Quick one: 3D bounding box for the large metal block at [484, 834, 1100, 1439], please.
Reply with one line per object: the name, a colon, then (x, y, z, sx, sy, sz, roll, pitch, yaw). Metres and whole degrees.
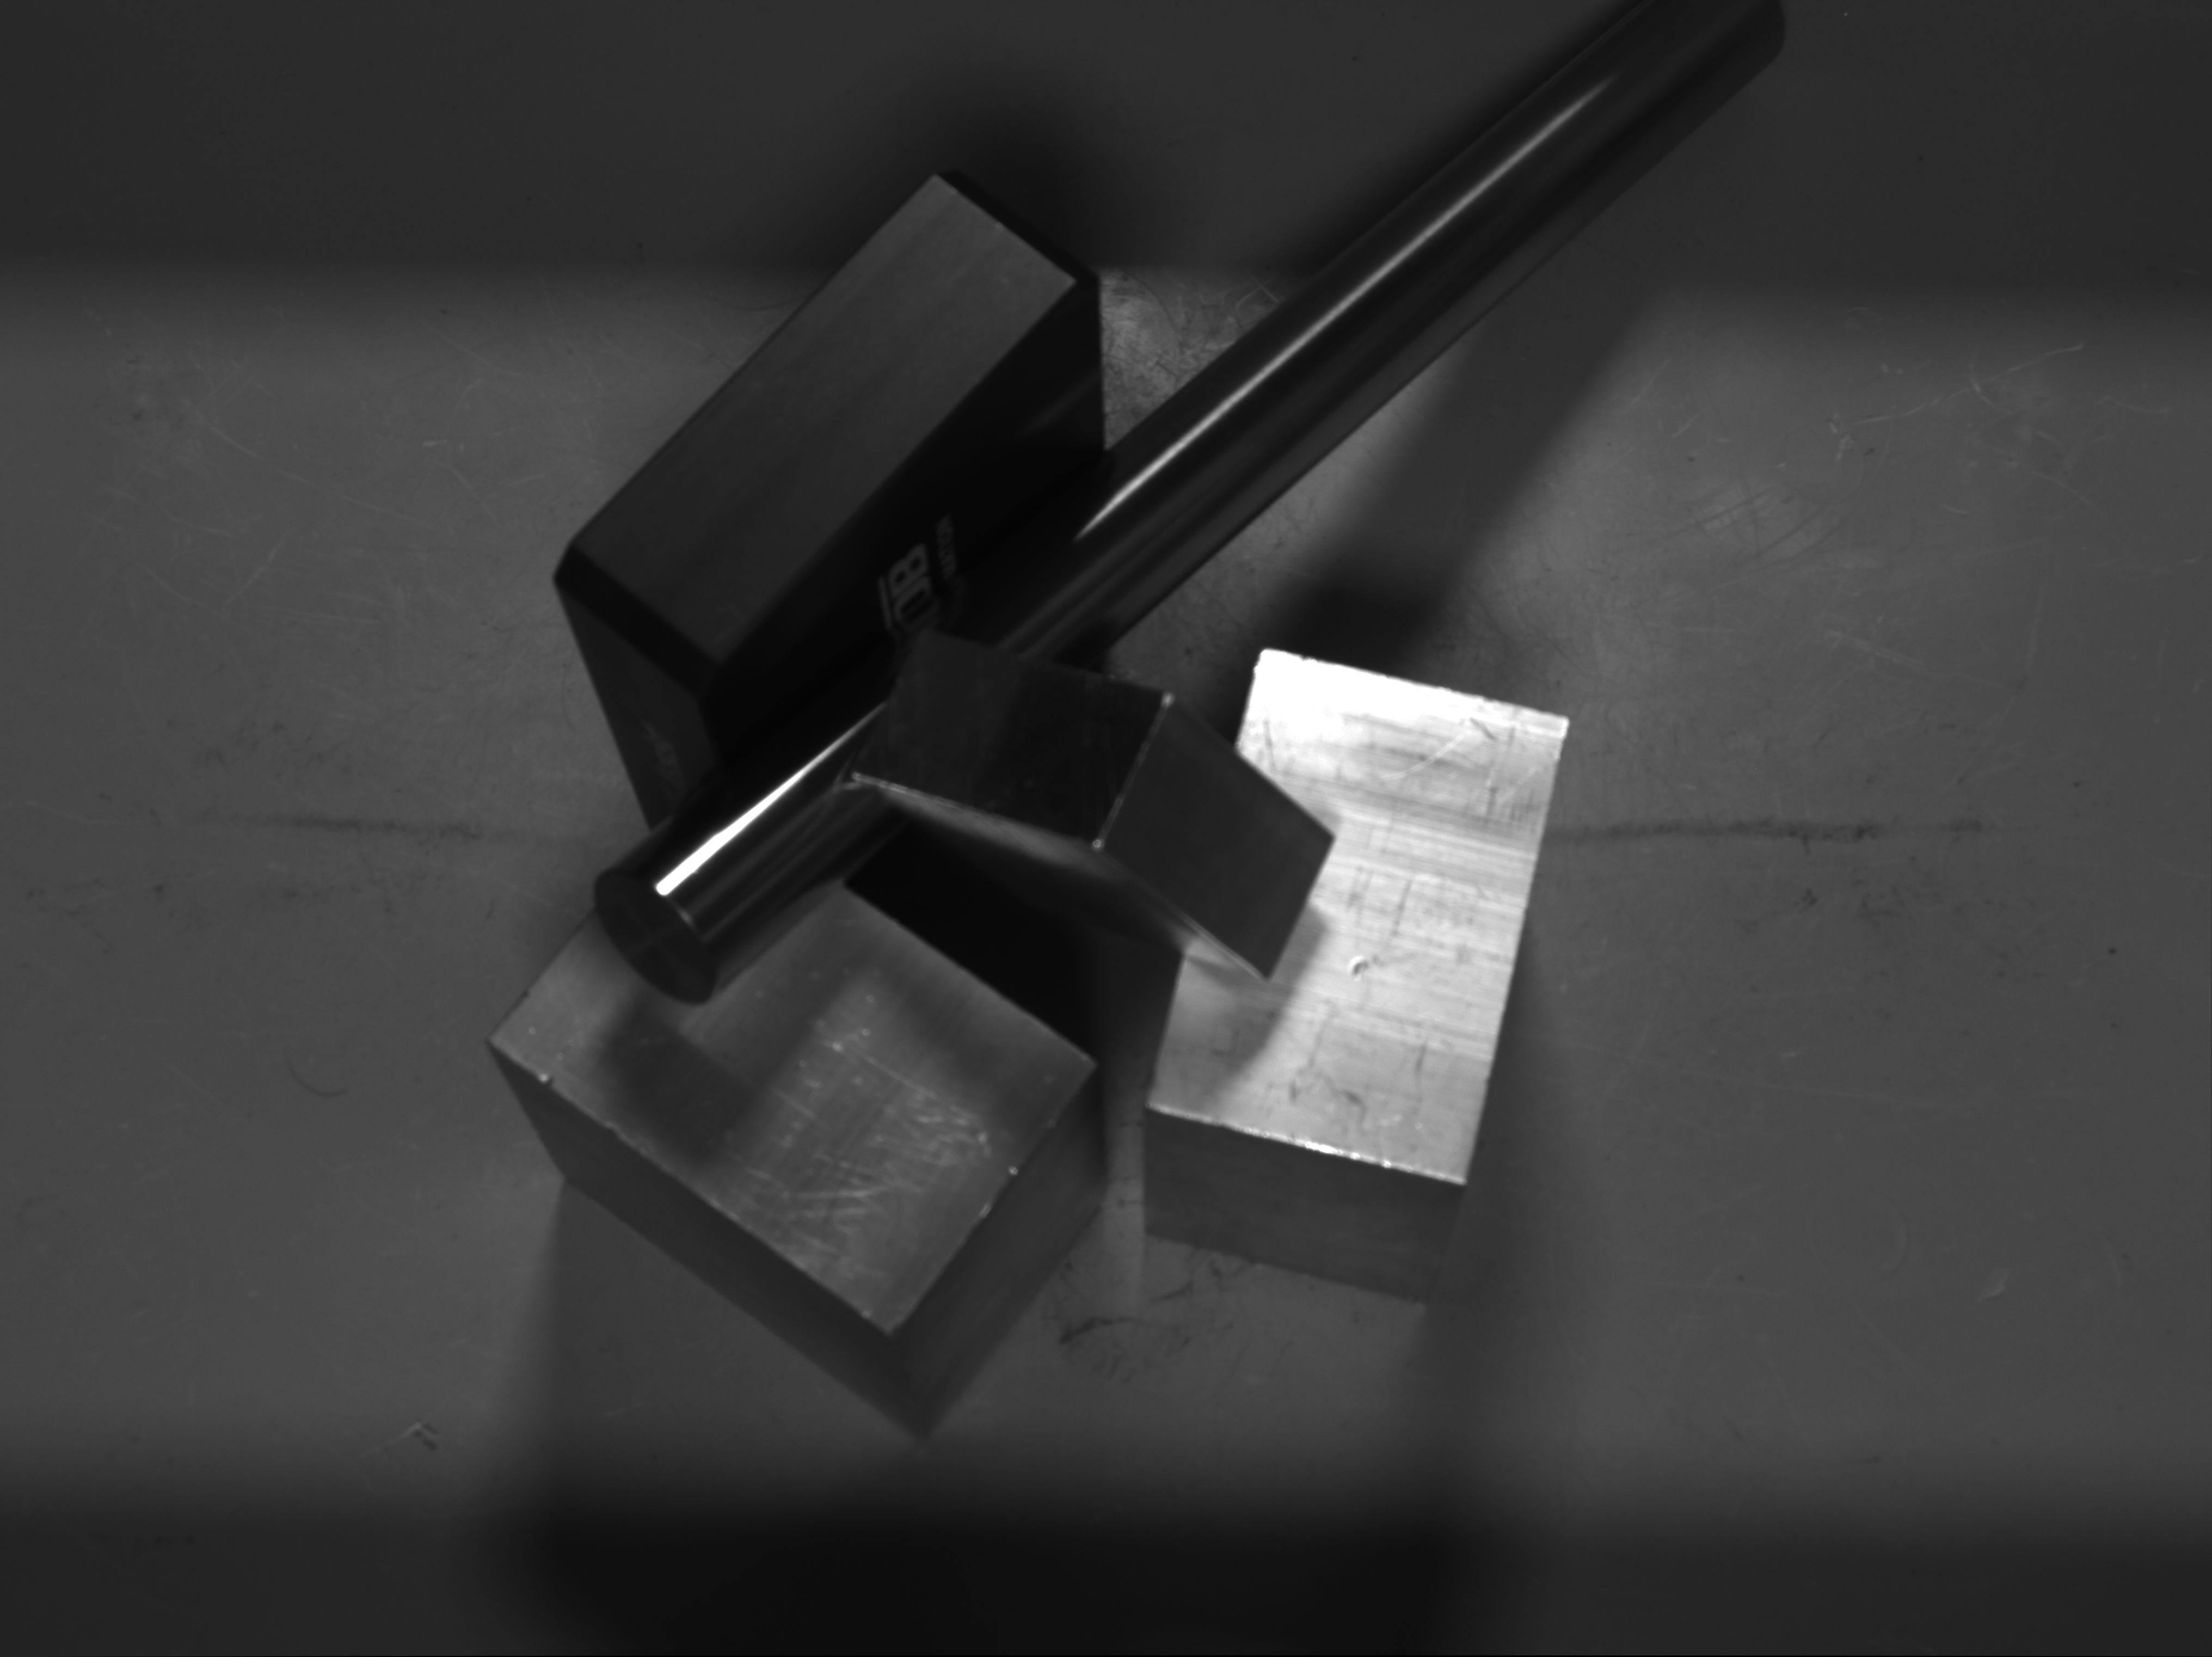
large metal block: (-0.048, 0.048, 0.598, 0.080, 0.080, 0.050, 35, 74, 12)

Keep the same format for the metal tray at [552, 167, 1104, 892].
metal tray: (-0.040, -0.040, 0.602, 0.030, 0.130, 0.090, 38, 75, 14)

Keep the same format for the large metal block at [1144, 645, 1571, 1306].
large metal block: (0.040, 0.026, 0.606, 0.050, 0.080, 0.080, 13, 70, 5)

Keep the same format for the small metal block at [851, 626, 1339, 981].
small metal block: (-0.001, -0.004, 0.553, 0.050, 0.050, 0.025, 17, 76, 40)

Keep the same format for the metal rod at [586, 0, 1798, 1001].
metal rod: (0.027, -0.070, 0.622, 0.025, 0.025, 0.300, 39, 57, 13)
